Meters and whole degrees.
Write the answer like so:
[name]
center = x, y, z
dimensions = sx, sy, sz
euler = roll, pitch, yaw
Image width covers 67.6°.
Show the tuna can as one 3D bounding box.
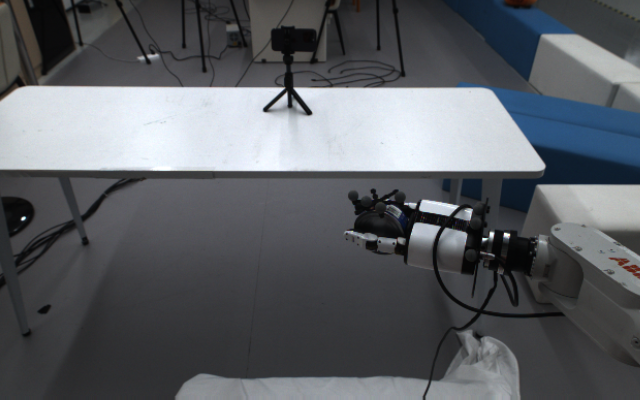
[tuna can]
center = 0.102, 0.044, 0.789
dimensions = 0.085, 0.085, 0.034
euler = 17, 37, 20
